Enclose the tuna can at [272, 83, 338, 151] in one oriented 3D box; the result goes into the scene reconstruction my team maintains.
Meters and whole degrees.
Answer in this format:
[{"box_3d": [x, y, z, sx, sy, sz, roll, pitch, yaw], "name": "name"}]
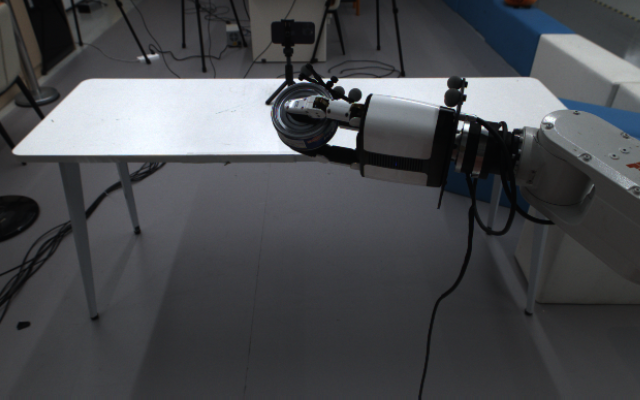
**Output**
[{"box_3d": [-0.019, -0.111, 0.632, 0.085, 0.034, 0.085, -4, 69, 10], "name": "tuna can"}]
